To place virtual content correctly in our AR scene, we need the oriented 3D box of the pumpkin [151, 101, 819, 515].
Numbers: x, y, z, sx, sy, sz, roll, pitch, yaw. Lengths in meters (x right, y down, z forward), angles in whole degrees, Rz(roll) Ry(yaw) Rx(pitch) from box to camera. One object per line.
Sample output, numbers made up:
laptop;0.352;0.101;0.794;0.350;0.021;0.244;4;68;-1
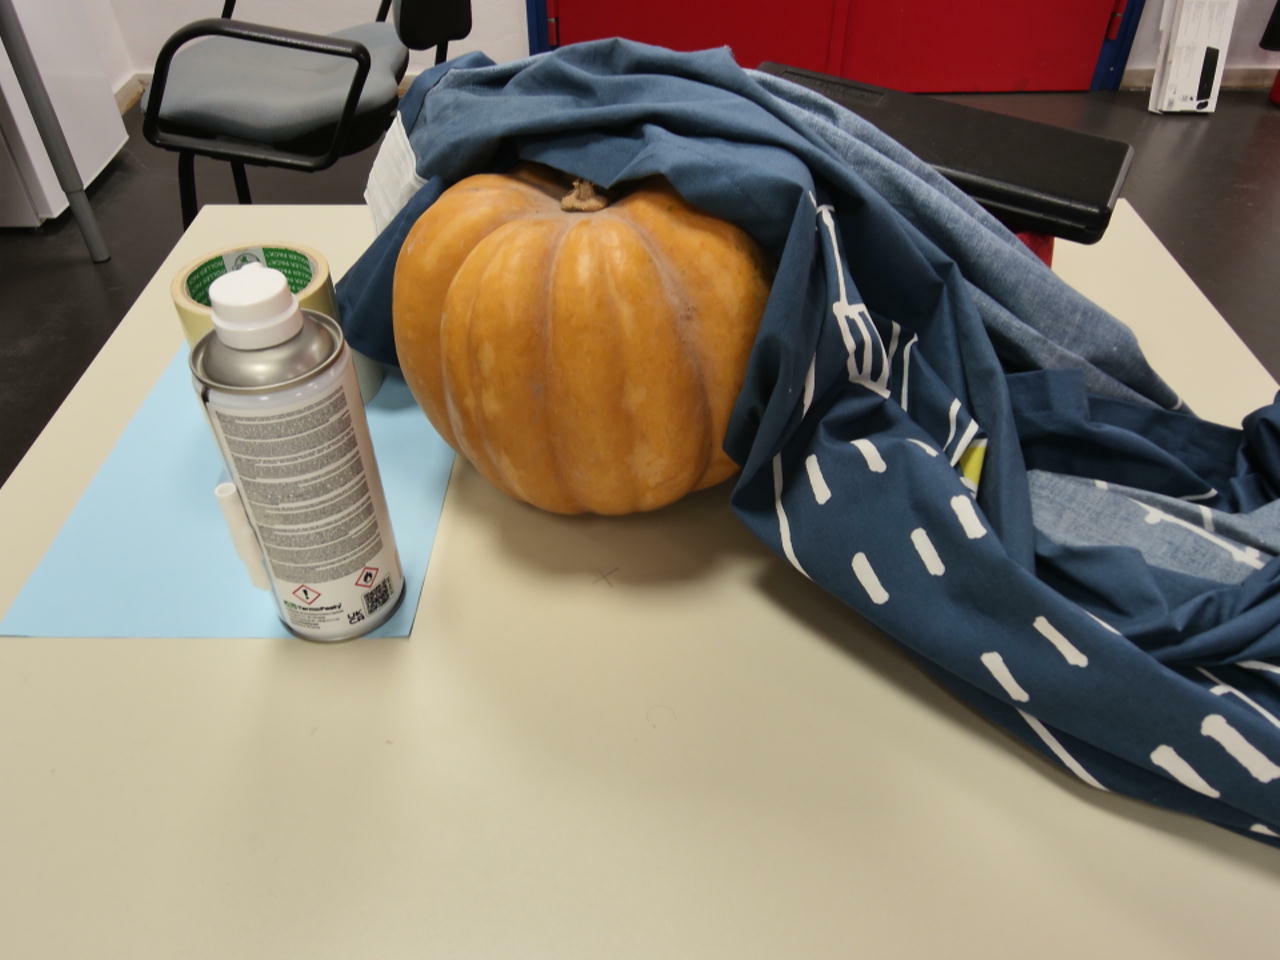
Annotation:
pumpkin;-0.015;-0.086;0.551;0.230;0.194;0.230;0;40;0
